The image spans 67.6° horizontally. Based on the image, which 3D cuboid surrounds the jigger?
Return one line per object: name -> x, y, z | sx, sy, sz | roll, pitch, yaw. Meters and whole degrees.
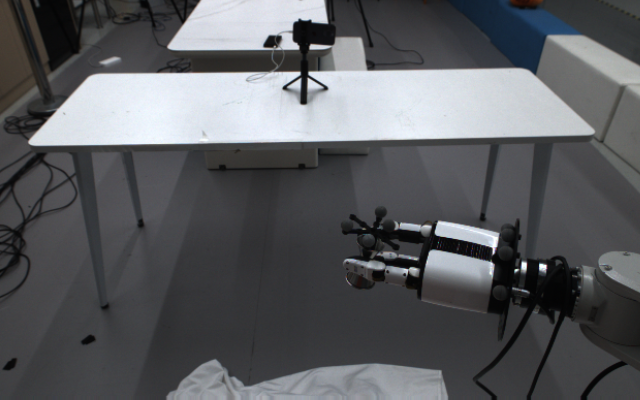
jigger -> 0.063, 0.085, 0.682 | 0.043, 0.071, 0.043 | 9, 30, -5
